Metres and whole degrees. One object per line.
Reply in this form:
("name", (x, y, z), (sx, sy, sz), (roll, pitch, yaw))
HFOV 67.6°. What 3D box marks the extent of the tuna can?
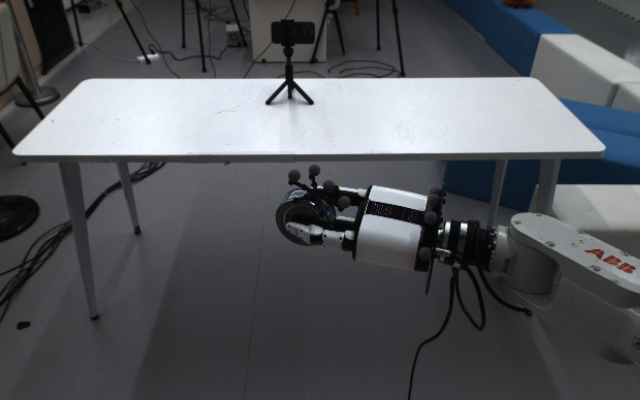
("tuna can", (-0.021, 0.025, 0.716), (0.085, 0.085, 0.034), (12, 35, 14))
